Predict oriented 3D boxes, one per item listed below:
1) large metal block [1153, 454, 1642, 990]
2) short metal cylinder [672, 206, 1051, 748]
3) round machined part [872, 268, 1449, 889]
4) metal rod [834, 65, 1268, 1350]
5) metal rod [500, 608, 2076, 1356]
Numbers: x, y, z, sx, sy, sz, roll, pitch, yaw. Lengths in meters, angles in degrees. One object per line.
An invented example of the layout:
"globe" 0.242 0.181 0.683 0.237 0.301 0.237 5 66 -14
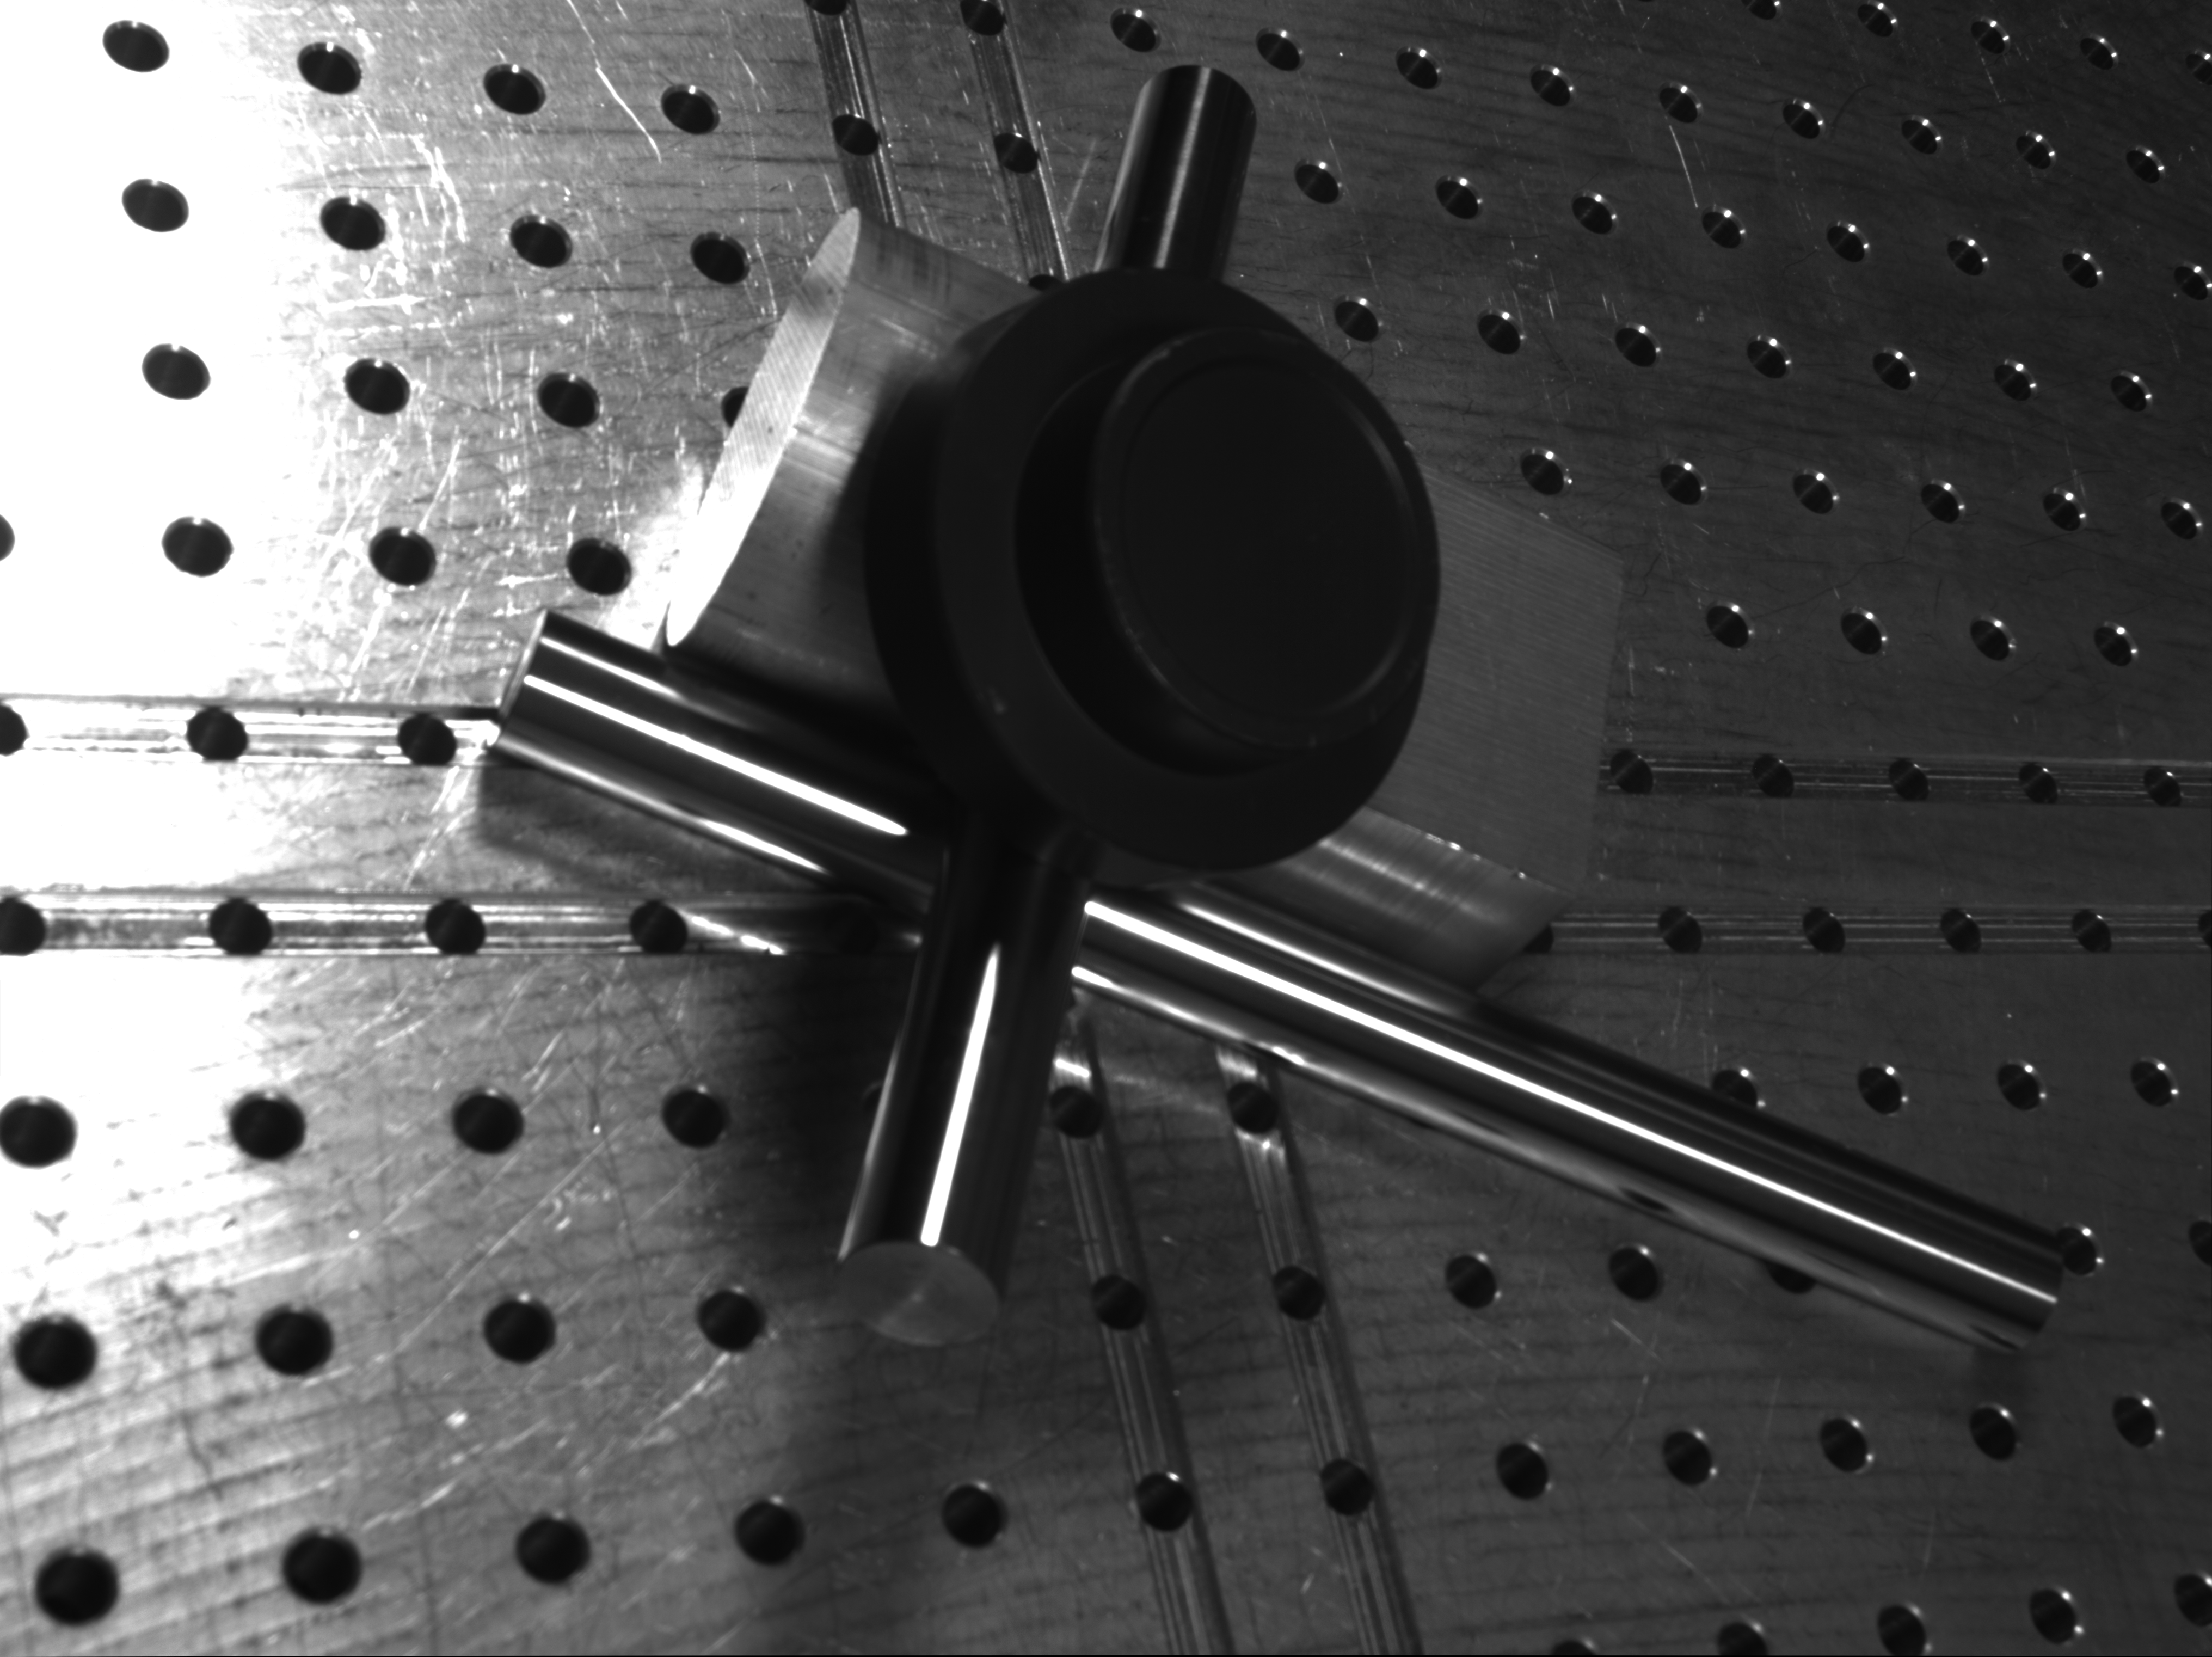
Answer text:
"large metal block" 0.045 -0.023 0.661 0.080 0.050 0.080 23 53 -14
"short metal cylinder" -0.035 -0.059 0.624 0.050 0.080 0.080 23 53 -14
"round machined part" 0.015 -0.042 0.581 0.098 0.042 0.098 7 78 -34
"metal rod" -0.003 -0.038 0.639 0.025 0.025 0.300 25 45 -13
"metal rod" 0.039 0.031 0.644 0.300 0.025 0.025 23 53 -15
